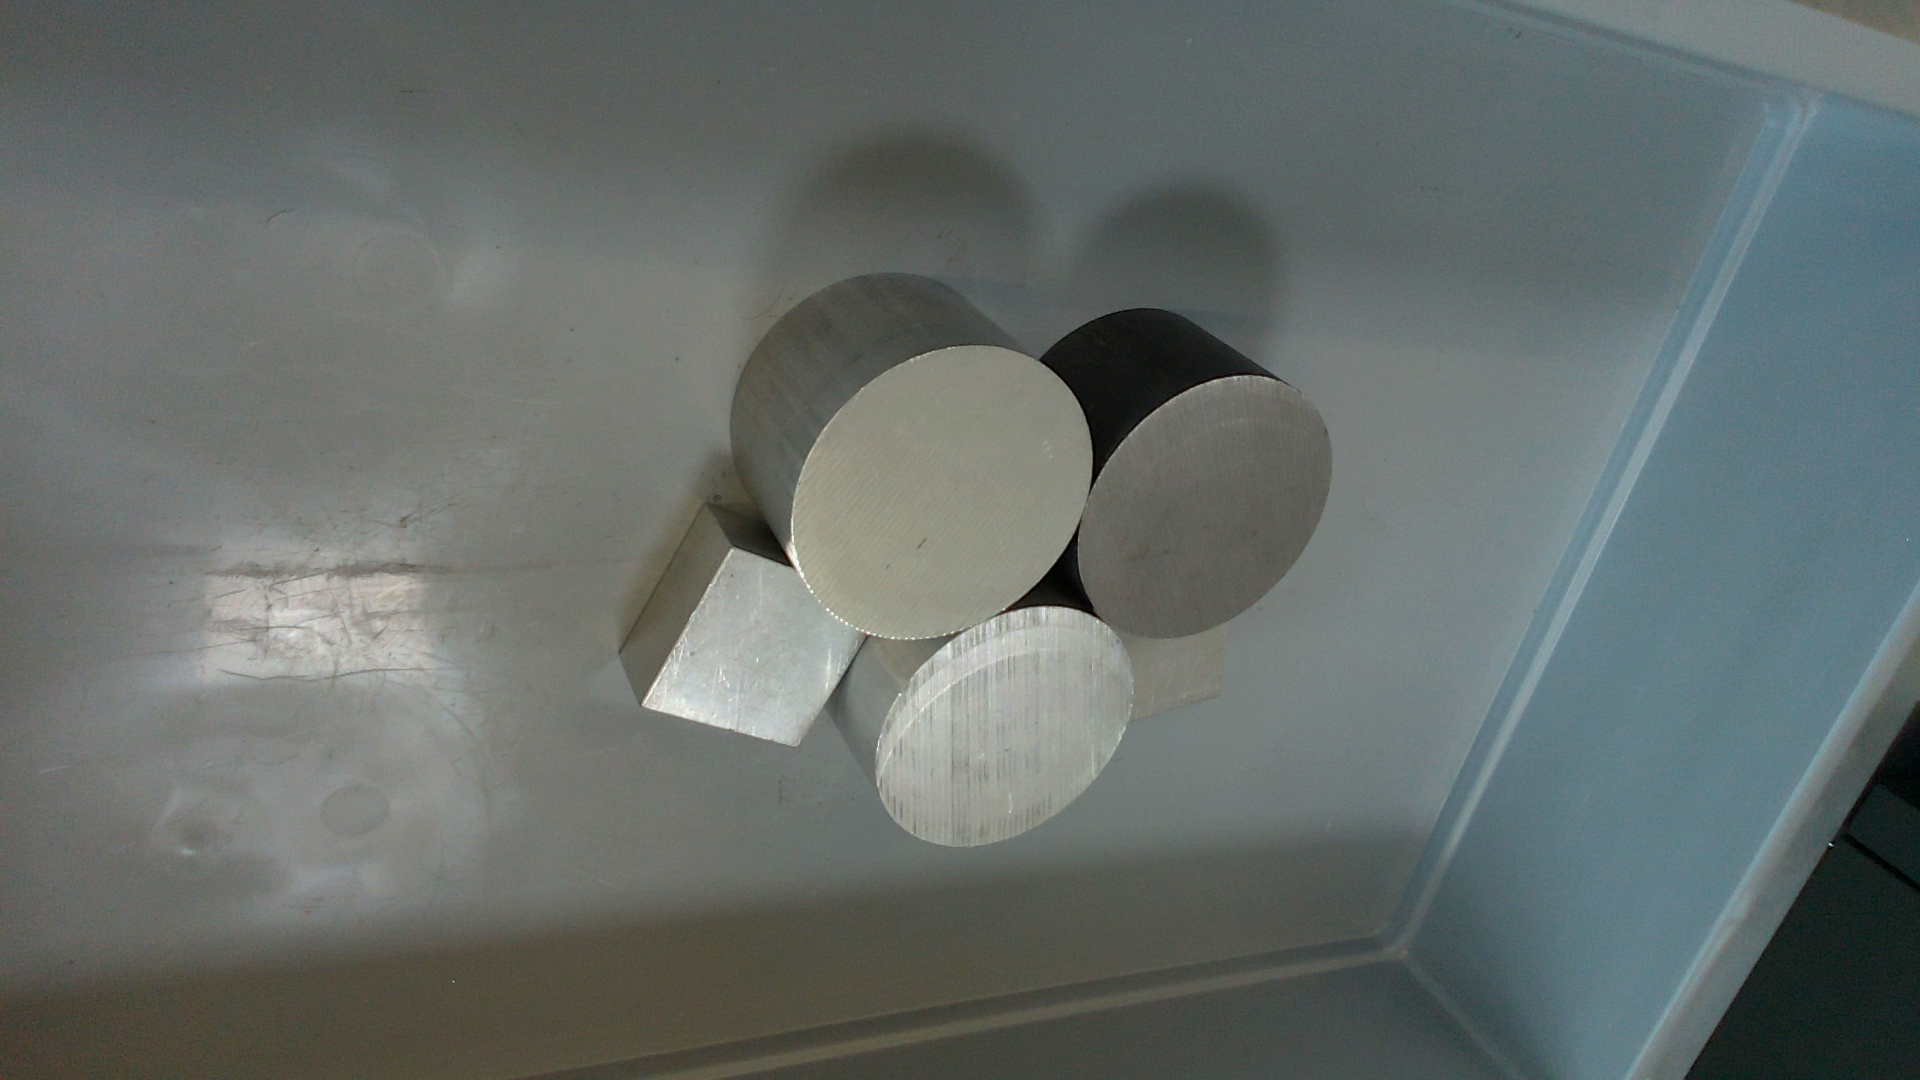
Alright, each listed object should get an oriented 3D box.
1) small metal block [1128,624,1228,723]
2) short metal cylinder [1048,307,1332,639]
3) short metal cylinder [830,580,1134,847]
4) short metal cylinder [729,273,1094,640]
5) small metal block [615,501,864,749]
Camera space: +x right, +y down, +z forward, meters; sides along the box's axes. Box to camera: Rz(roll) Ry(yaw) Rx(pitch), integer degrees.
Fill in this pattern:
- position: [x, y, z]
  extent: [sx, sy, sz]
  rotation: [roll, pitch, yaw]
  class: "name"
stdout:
- position: [0.057, 0.029, 0.437]
  extent: [0.050, 0.025, 0.050]
  rotation: [-13, 124, -21]
  class: "small metal block"
- position: [0.057, -0.019, 0.391]
  extent: [0.080, 0.050, 0.080]
  rotation: [-14, 124, -21]
  class: "short metal cylinder"
- position: [0.003, 0.041, 0.398]
  extent: [0.080, 0.050, 0.080]
  rotation: [-14, 124, -21]
  class: "short metal cylinder"
- position: [-0.013, -0.022, 0.351]
  extent: [0.080, 0.050, 0.080]
  rotation: [-14, 124, -21]
  class: "short metal cylinder"
- position: [-0.057, 0.024, 0.372]
  extent: [0.050, 0.025, 0.050]
  rotation: [23, 106, -36]
  class: "small metal block"
